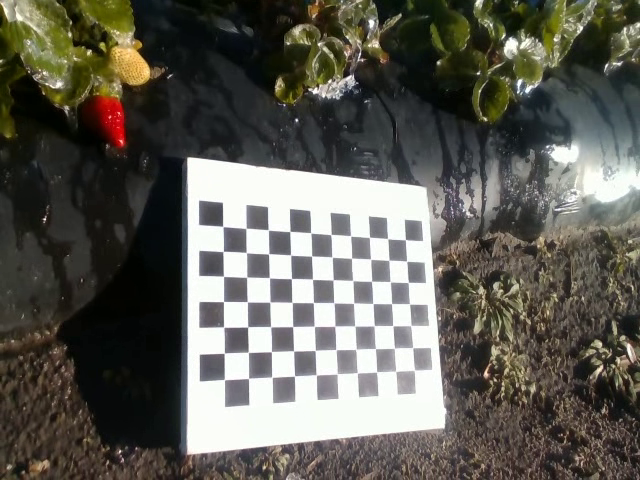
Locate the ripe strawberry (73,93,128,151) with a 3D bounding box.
[{"bbox_3d":[-0.185,-0.107,0.564,0.041,0.052,0.040,-16,-11,-32],"label":"ripe strawberry"}]
